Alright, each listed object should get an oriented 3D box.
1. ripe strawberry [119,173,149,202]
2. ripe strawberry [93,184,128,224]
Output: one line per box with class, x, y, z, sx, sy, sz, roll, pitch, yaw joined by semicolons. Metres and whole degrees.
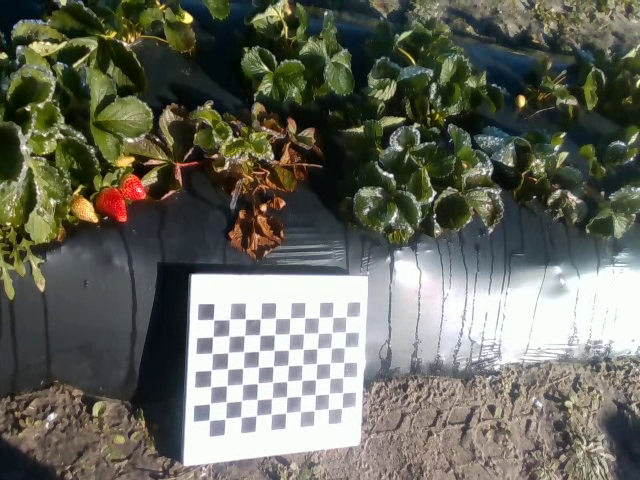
ripe strawberry;-0.240;-0.066;0.831;0.041;0.036;0.030;31;-10;-18
ripe strawberry;-0.254;-0.038;0.806;0.036;0.051;0.040;-39;-20;-19
